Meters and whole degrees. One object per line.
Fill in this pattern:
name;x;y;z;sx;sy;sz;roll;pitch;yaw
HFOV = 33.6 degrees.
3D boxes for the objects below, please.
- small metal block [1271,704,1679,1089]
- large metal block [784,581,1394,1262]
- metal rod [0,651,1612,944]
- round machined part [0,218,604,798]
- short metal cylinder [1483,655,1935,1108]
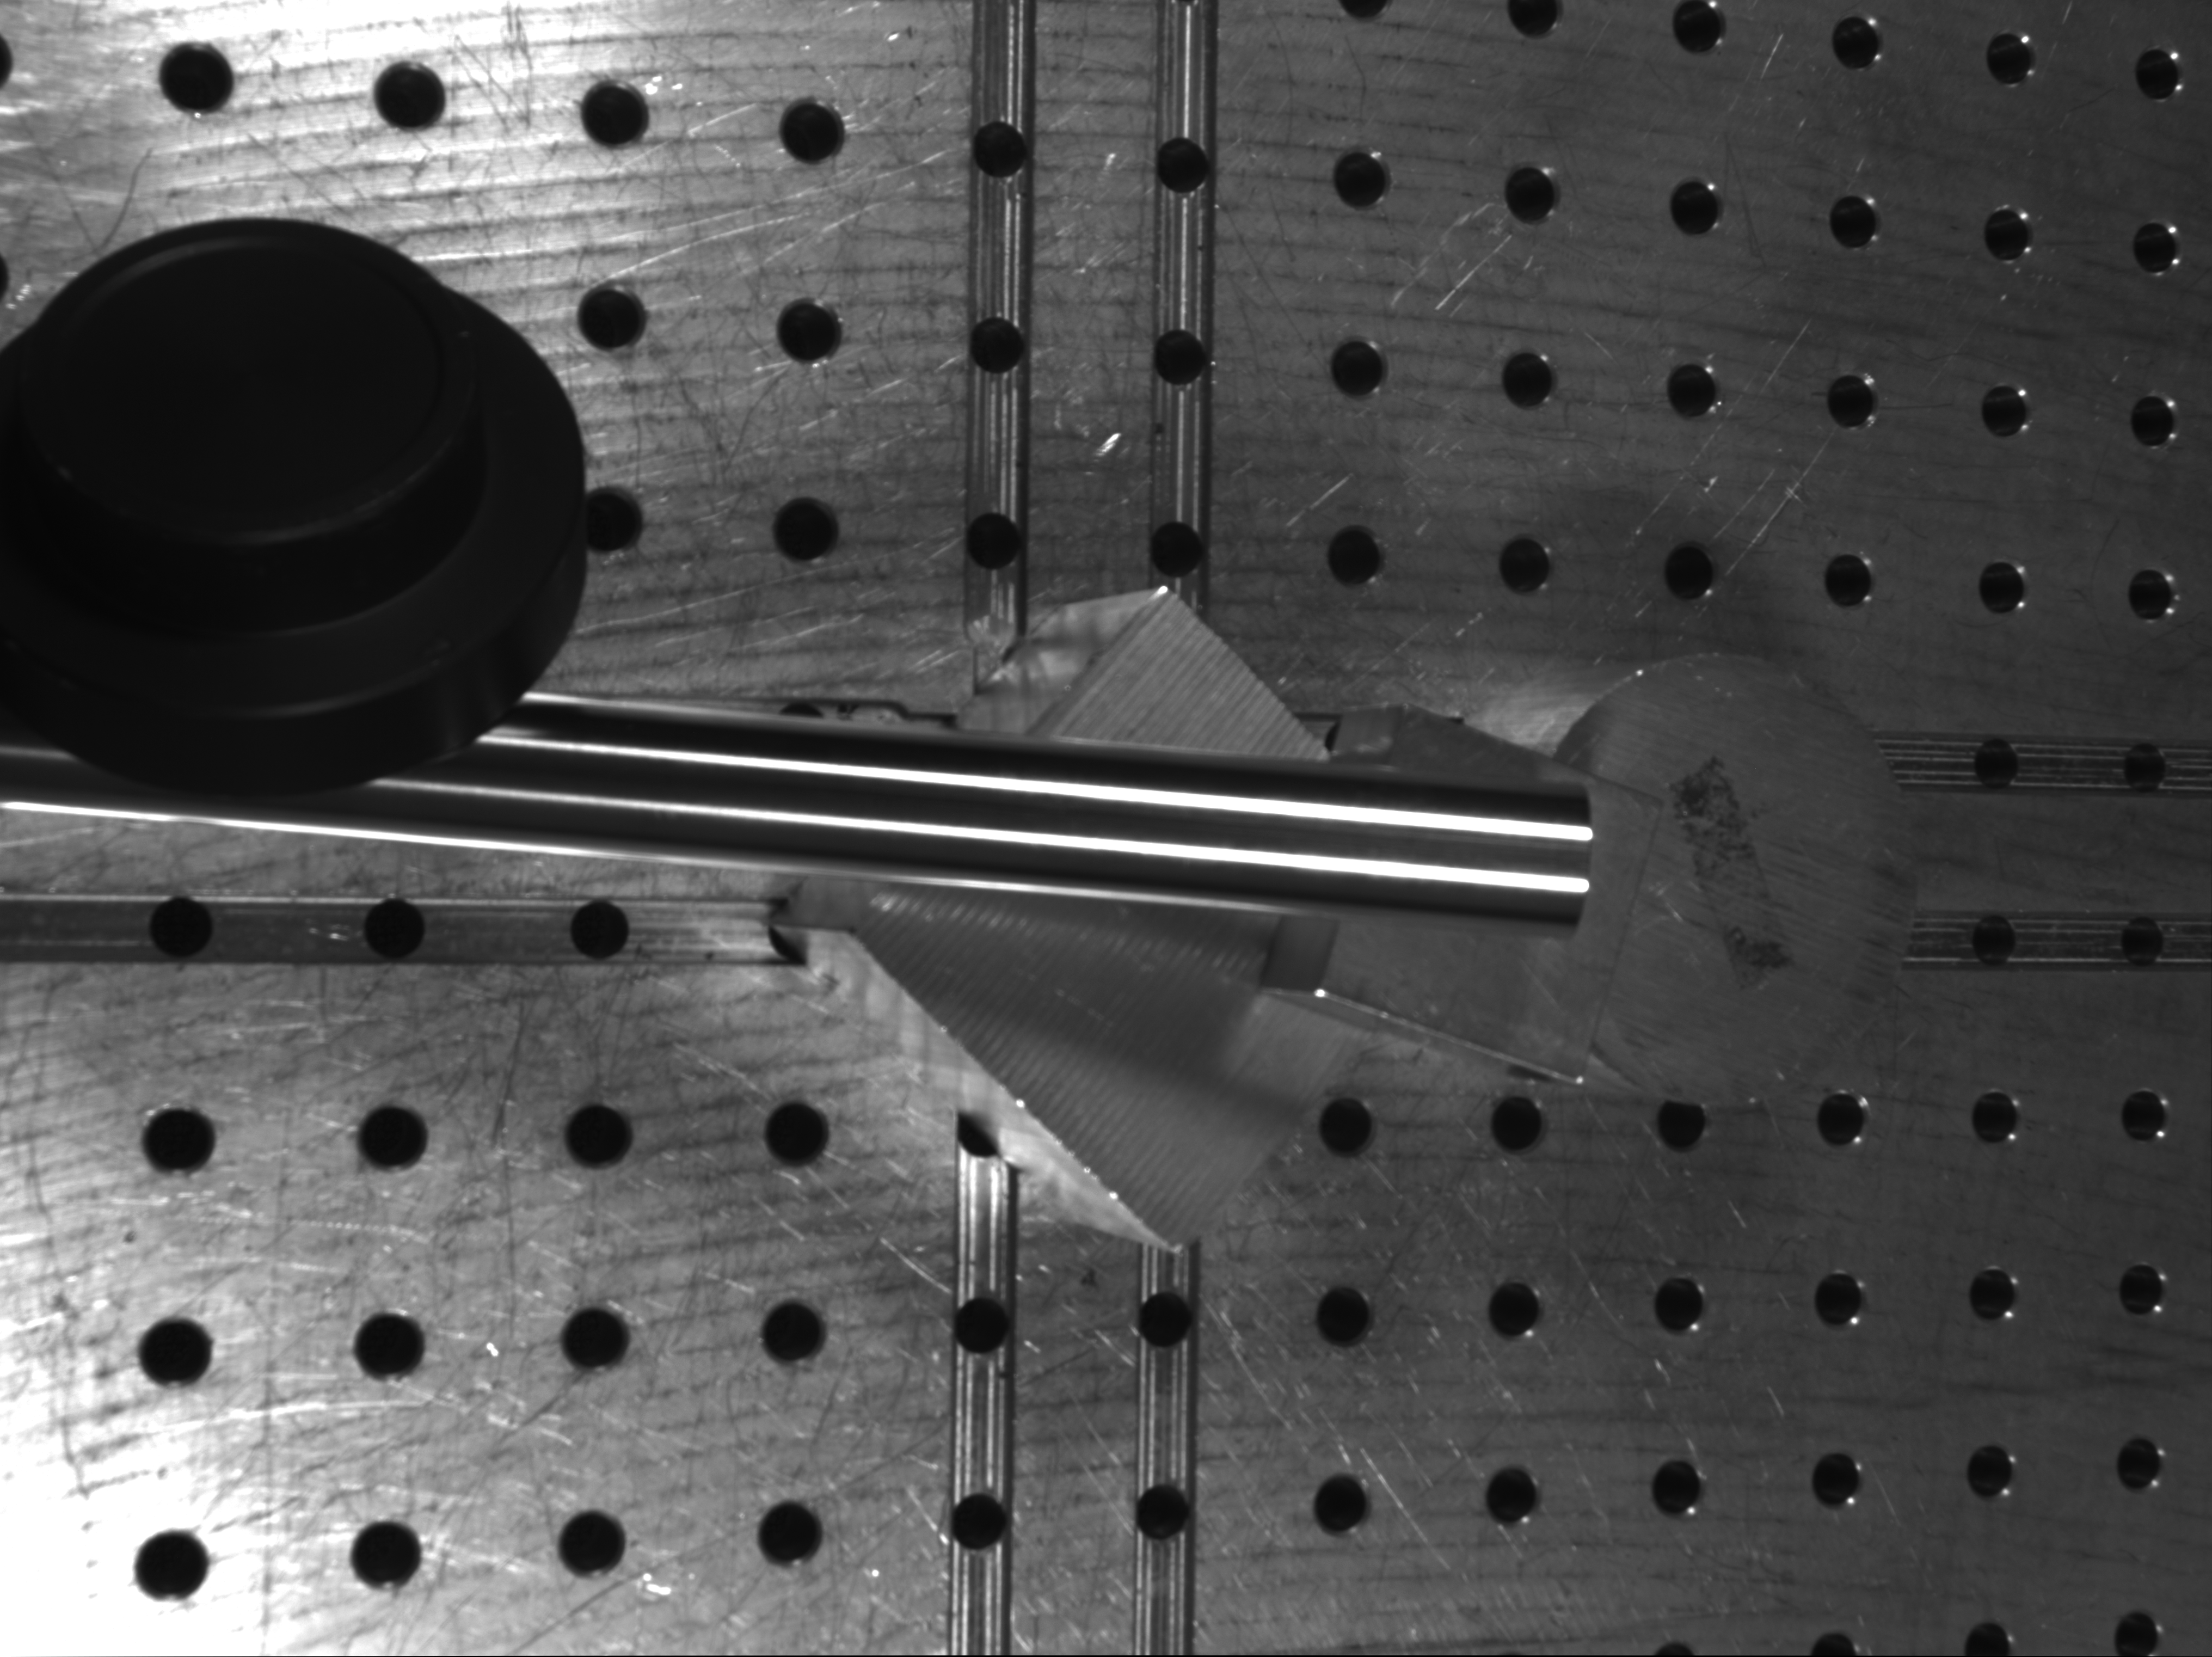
small metal block;0.062;0.011;0.613;0.050;0.025;0.050;20;83;-19
large metal block;0.006;0.016;0.632;0.080;0.050;0.080;46;76;-14
metal rod;-0.072;-0.007;0.574;0.300;0.025;0.025;5;88;-3
round machined part;-0.127;-0.055;0.562;0.098;0.042;0.098;3;52;-4
short metal cylinder;0.103;0.009;0.670;0.080;0.050;0.080;0;90;-20
